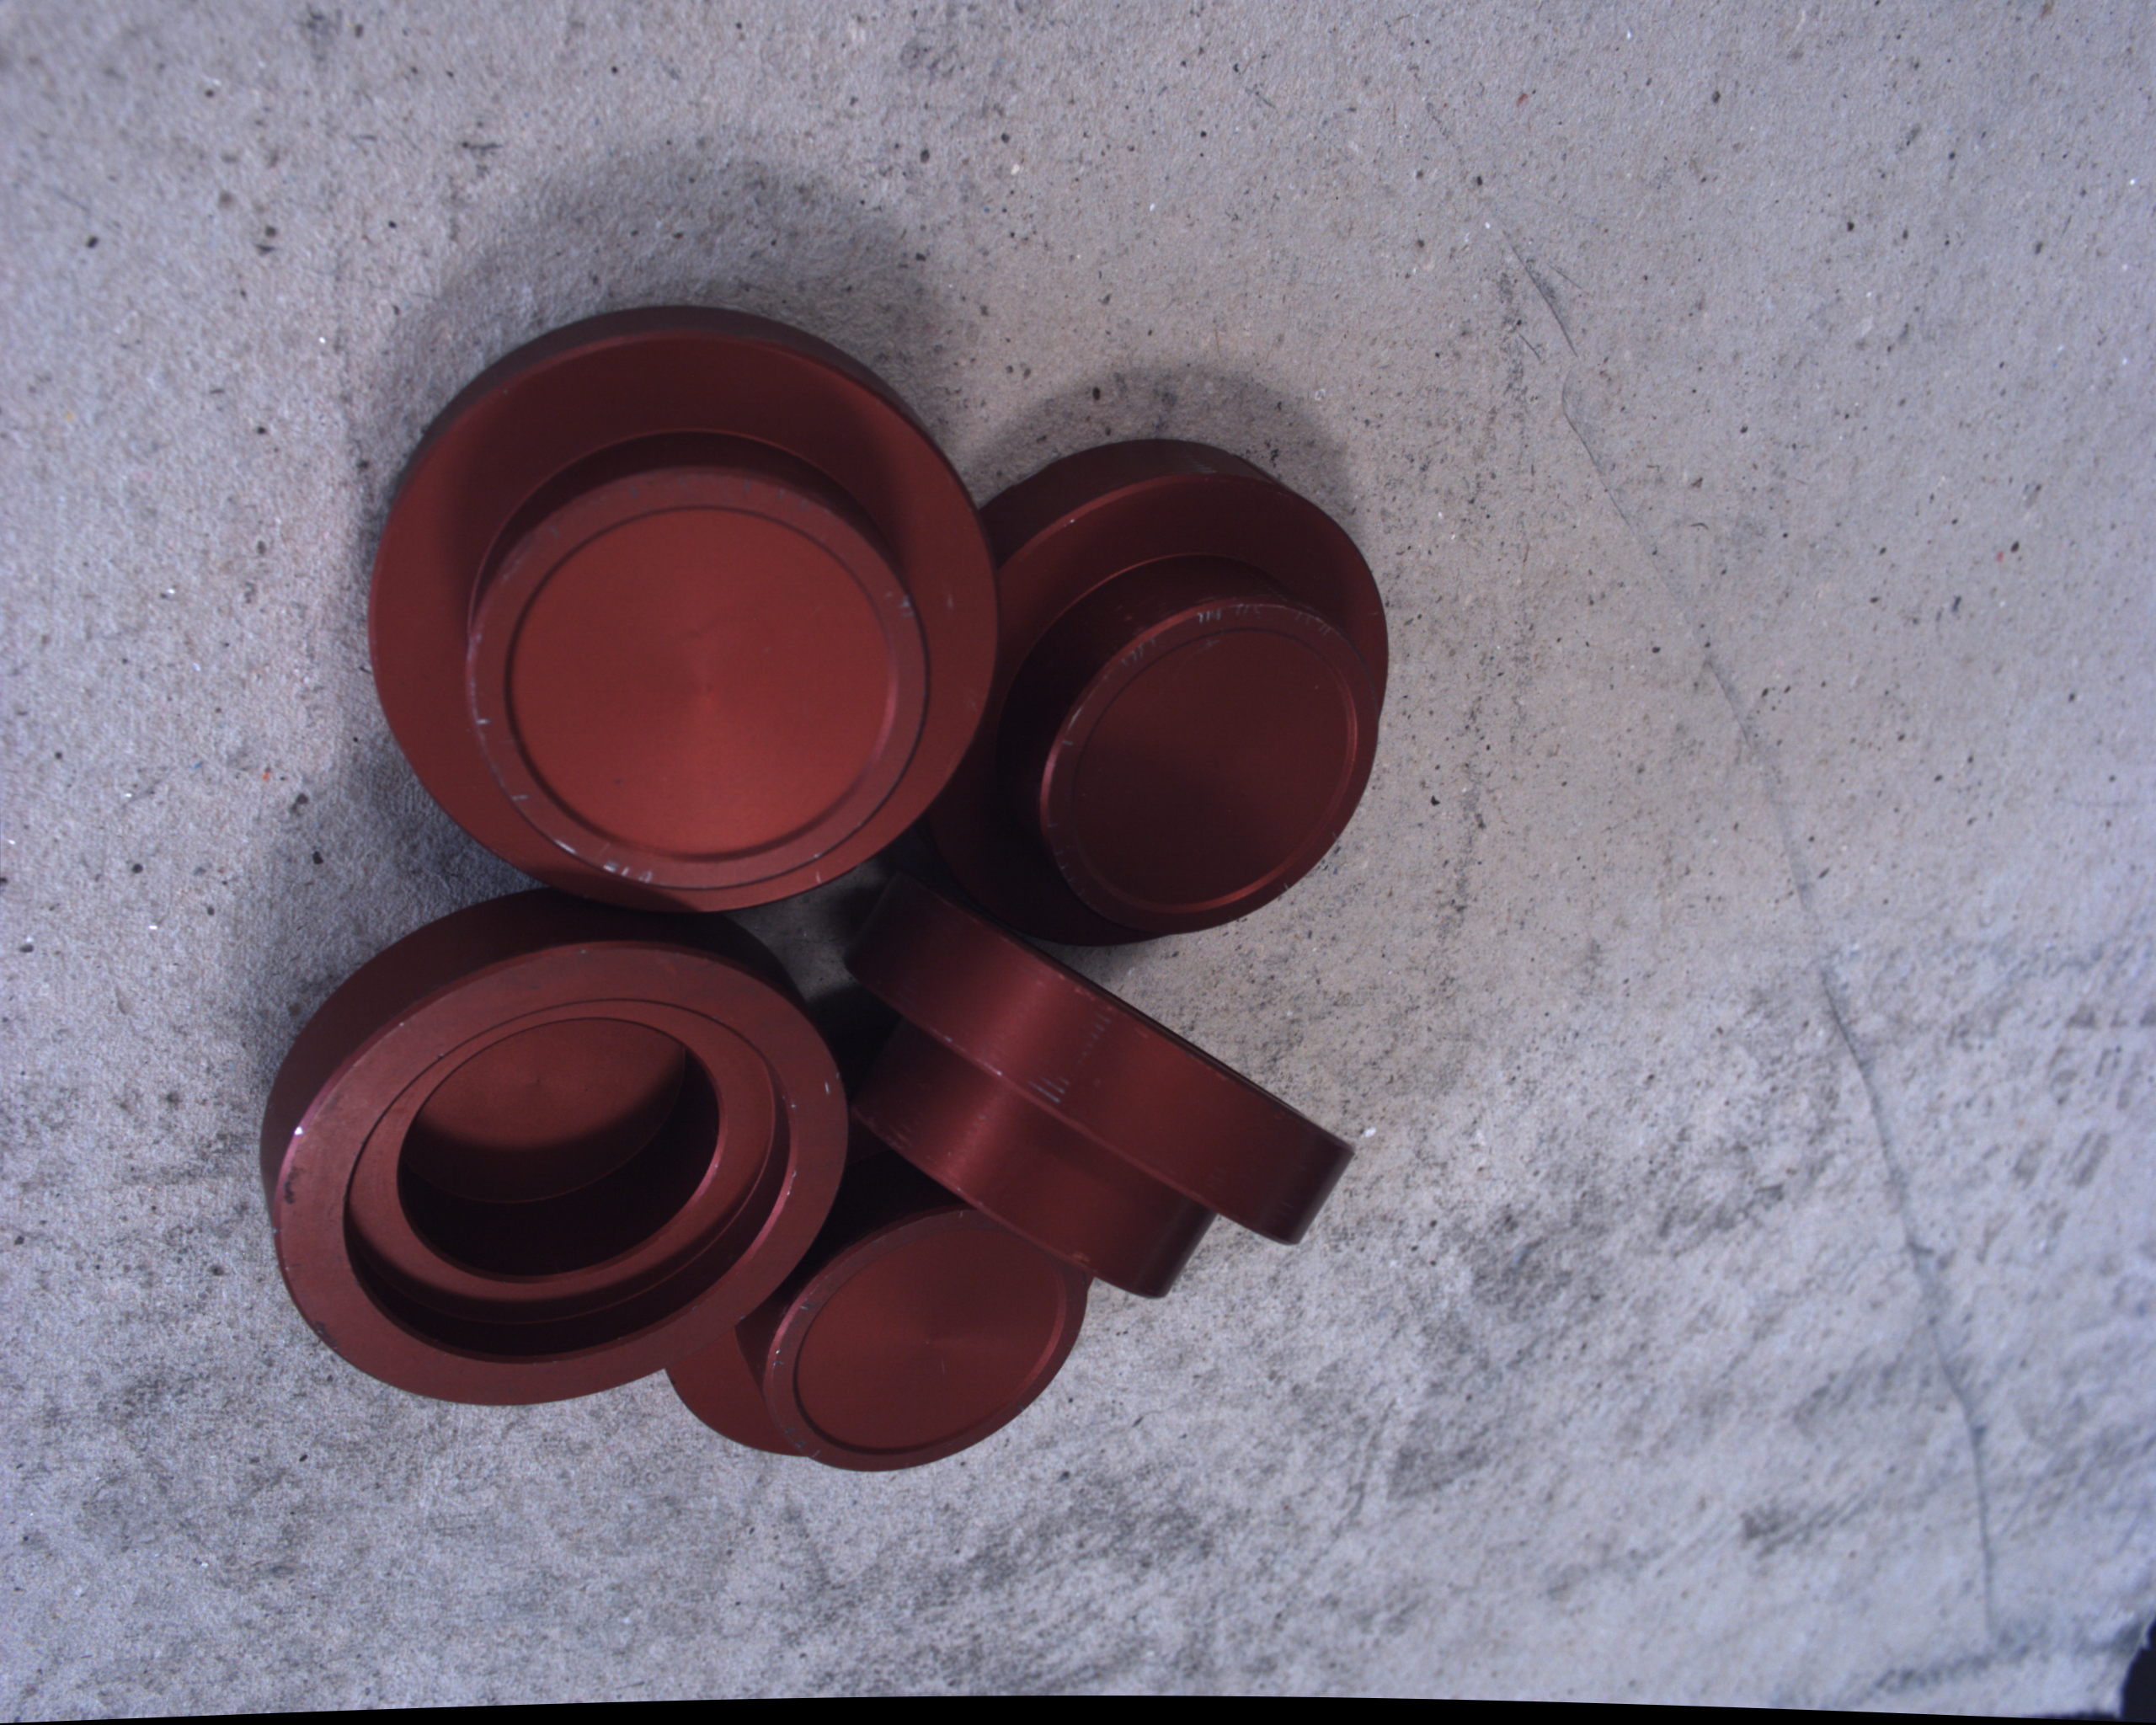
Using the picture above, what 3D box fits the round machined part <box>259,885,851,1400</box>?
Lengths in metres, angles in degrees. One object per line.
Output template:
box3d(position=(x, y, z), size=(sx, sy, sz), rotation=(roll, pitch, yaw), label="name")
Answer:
box3d(position=(-0.094, 0.045, 0.374), size=(0.099, 0.042, 0.097), rotation=(-14, 126, -20), label="round machined part")

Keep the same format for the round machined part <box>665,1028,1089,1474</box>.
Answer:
box3d(position=(-0.037, 0.086, 0.430), size=(0.099, 0.042, 0.097), rotation=(-14, 123, -22), label="round machined part")

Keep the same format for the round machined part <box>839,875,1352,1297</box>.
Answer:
box3d(position=(-0.002, 0.044, 0.384), size=(0.098, 0.098, 0.042), rotation=(33, 86, -38), label="round machined part")

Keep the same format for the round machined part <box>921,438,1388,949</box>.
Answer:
box3d(position=(0.017, -0.026, 0.390), size=(0.099, 0.042, 0.097), rotation=(-14, 123, -22), label="round machined part")

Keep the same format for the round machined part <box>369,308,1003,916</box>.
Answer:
box3d(position=(-0.060, -0.034, 0.329), size=(0.099, 0.042, 0.097), rotation=(-6, 117, -11), label="round machined part")
